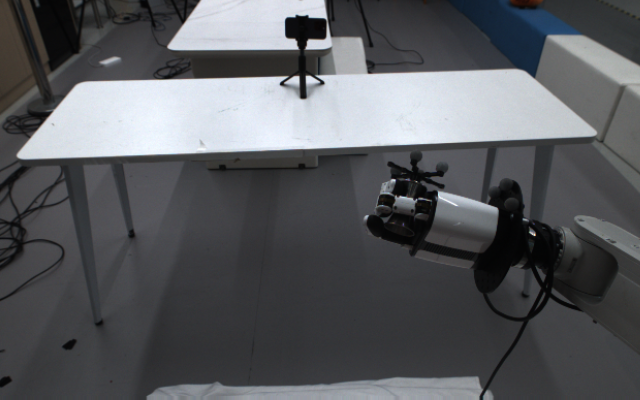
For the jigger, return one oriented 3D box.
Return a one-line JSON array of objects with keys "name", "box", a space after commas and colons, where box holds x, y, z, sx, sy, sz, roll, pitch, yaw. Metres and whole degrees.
[{"name": "jigger", "box": [0.120, 0.009, 0.667, 0.043, 0.043, 0.071, 15, 70, 18]}]
